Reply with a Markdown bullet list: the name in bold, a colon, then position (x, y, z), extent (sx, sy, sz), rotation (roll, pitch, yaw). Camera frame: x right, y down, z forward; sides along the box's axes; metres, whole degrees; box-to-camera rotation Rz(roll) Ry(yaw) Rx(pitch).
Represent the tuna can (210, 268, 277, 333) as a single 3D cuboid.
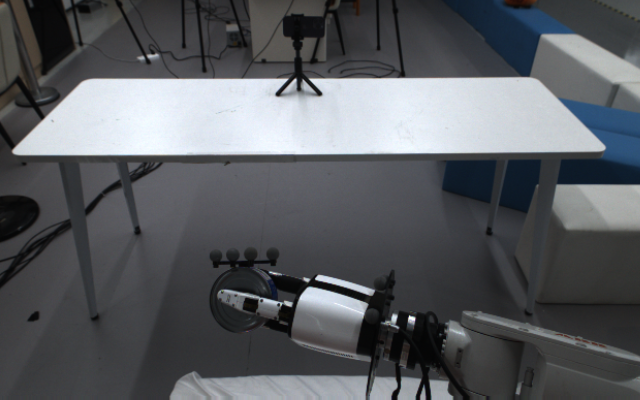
- **tuna can**: position (-0.098, 0.136, 0.640), extent (0.085, 0.085, 0.034), rotation (10, -6, 11)
